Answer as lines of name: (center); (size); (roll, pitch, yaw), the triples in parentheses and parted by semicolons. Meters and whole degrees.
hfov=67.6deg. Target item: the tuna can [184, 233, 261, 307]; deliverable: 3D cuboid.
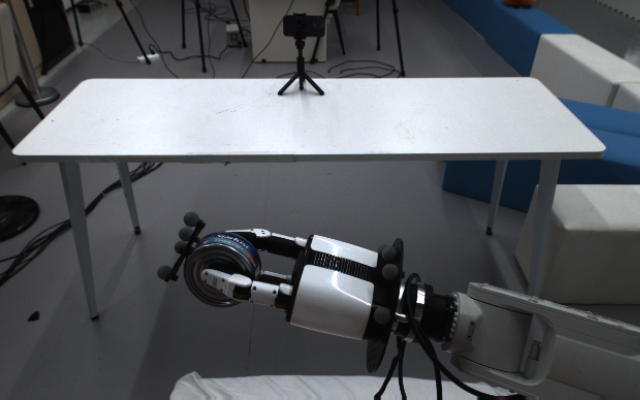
tuna can: (-0.110, 0.086, 0.564); (0.085, 0.085, 0.034); (4, 21, 2)
